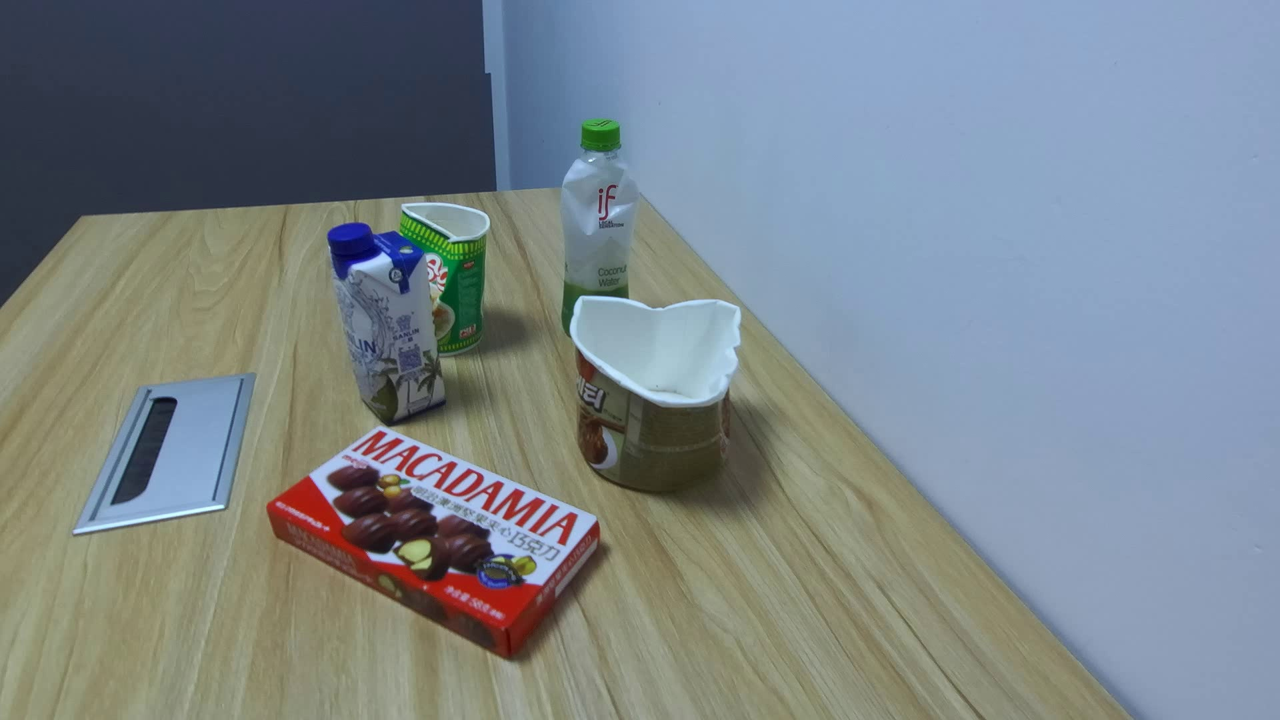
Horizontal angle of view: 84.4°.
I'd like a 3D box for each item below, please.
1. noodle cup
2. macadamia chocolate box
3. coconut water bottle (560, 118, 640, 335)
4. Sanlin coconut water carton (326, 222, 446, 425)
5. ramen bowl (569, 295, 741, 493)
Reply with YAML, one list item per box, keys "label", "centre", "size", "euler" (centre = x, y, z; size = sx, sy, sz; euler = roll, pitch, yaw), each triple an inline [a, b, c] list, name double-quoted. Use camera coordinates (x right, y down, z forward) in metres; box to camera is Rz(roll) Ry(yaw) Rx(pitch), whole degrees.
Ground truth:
- label: "noodle cup"
  centre: [-0.171, -0.068, 0.606]
  size: [0.075, 0.122, 0.082]
  euler: [2, 23, -19]
- label: "macadamia chocolate box"
  centre: [-0.123, 0.100, 0.426]
  size: [0.177, 0.027, 0.096]
  euler: [18, 34, 22]
- label: "coconut water bottle"
  centre: [-0.036, -0.108, 0.604]
  size: [0.067, 0.187, 0.067]
  euler: [4, 31, -2]
- label: "Sanlin coconut water carton"
  centre: [-0.184, -0.030, 0.517]
  size: [0.061, 0.144, 0.060]
  euler: [-23, 40, -36]
- label: "ramen bowl"
  centre: [0.012, 0.025, 0.485]
  size: [0.113, 0.097, 0.133]
  euler: [1, 31, -3]
